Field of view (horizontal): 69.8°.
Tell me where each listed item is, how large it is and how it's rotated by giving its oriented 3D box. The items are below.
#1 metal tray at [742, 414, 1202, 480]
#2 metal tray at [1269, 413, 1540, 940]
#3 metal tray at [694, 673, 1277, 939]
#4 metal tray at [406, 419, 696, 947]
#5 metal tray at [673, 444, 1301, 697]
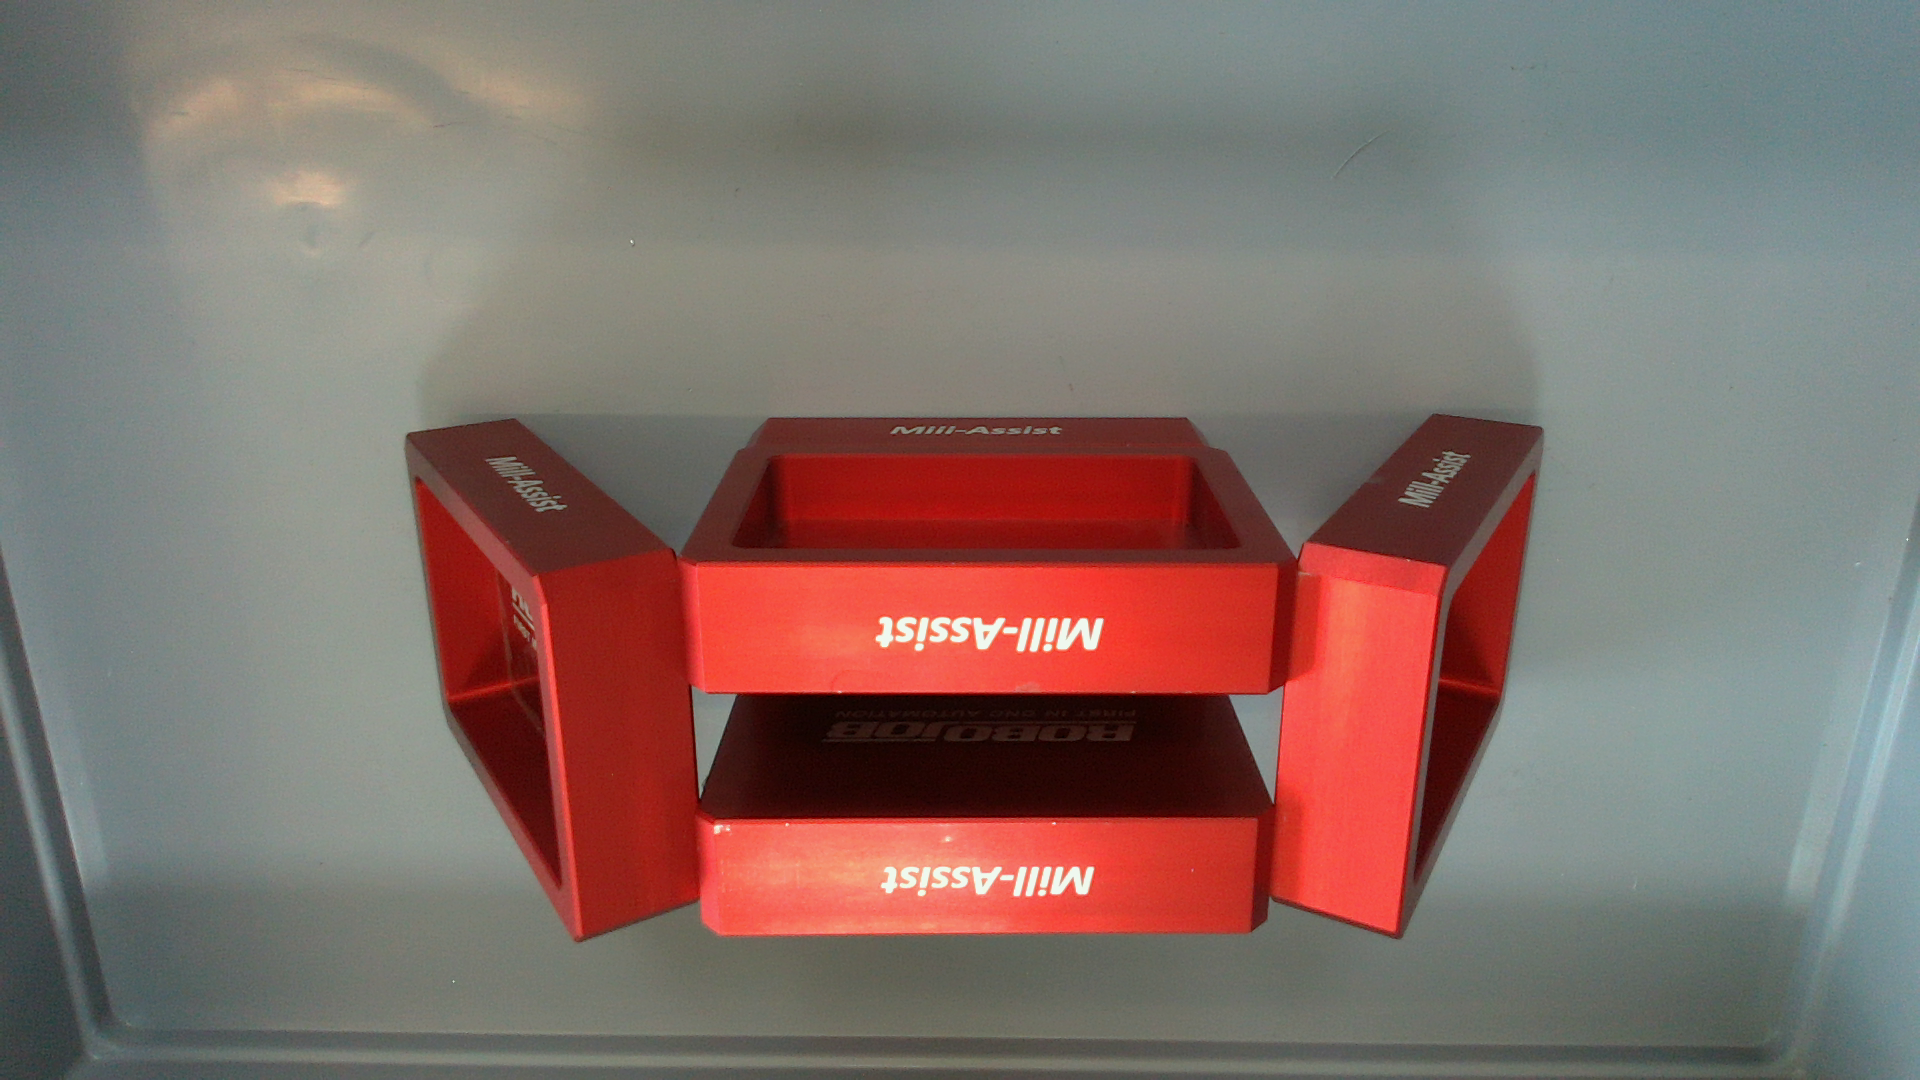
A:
[{"bbox_3d":[0.005,0.012,0.395,0.130,0.030,0.090,-1,110,-1],"label":"metal tray"},{"bbox_3d":[0.116,0.027,0.349,0.030,0.130,0.090,11,113,27],"label":"metal tray"},{"bbox_3d":[0.006,0.061,0.348,0.130,0.090,0.030,0,110,0],"label":"metal tray"},{"bbox_3d":[-0.106,0.029,0.349,0.030,0.130,0.090,-12,114,-30],"label":"metal tray"},{"bbox_3d":[0.006,0.004,0.327,0.130,0.090,0.030,0,110,0],"label":"metal tray"}]
